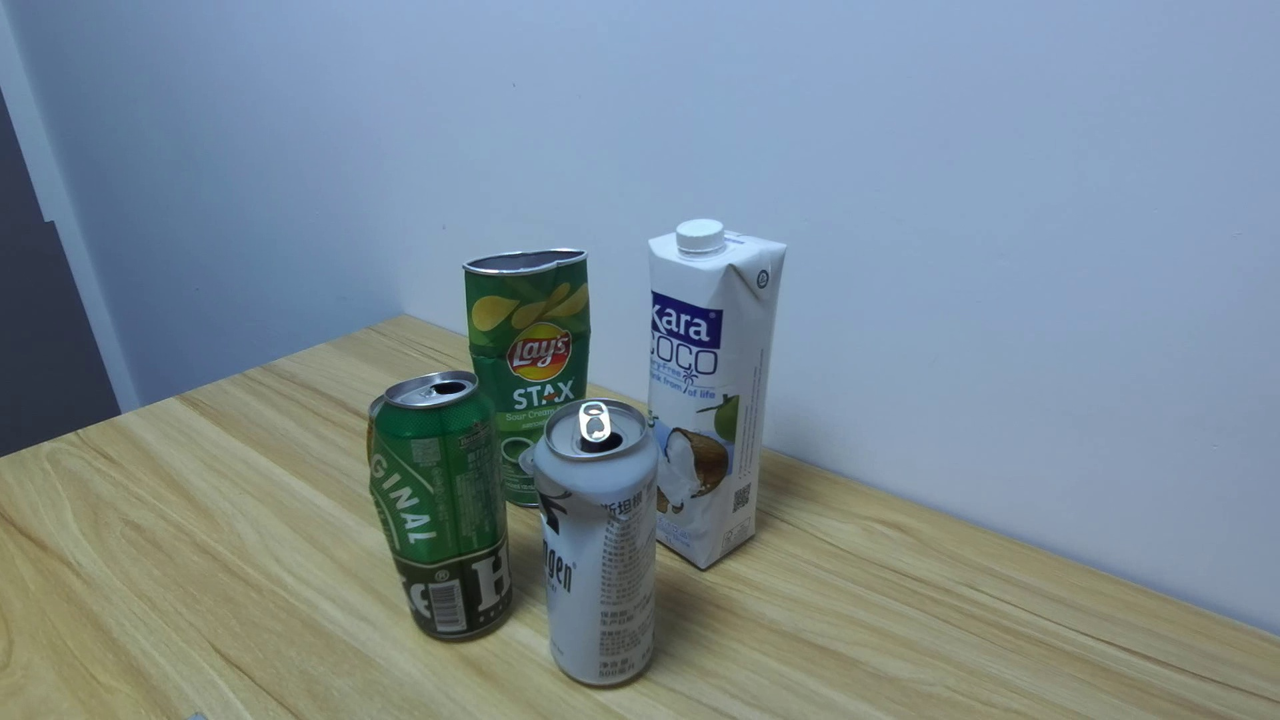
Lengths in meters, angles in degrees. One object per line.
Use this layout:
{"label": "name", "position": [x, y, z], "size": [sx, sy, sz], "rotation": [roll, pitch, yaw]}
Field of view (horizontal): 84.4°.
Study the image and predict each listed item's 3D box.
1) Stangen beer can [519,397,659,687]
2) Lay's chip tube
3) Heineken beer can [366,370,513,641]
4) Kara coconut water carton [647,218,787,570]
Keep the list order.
{"label": "Stangen beer can", "position": [-0.024, 0.107, 0.407], "size": [0.069, 0.173, 0.070], "rotation": [1, 27, 3]}
{"label": "Lay's chip tube", "position": [-0.083, 0.016, 0.558], "size": [0.068, 0.199, 0.075], "rotation": [14, 29, 25]}
{"label": "Heineken beer can", "position": [-0.120, 0.092, 0.443], "size": [0.068, 0.168, 0.069], "rotation": [2, 23, 9]}
{"label": "Kara coconut water carton", "position": [0.047, 0.023, 0.494], "size": [0.075, 0.245, 0.076], "rotation": [-21, 33, -40]}
